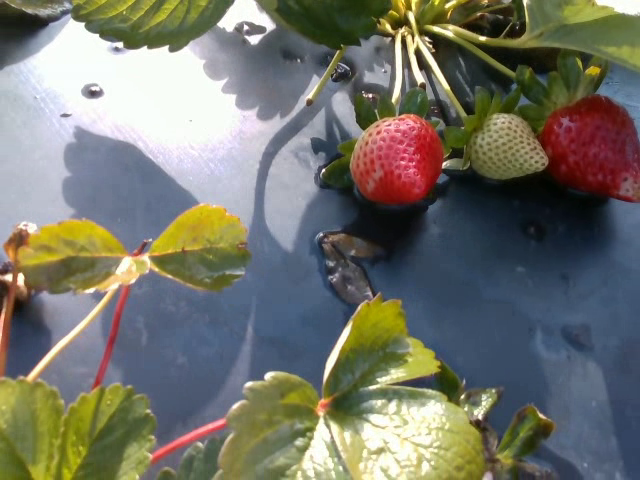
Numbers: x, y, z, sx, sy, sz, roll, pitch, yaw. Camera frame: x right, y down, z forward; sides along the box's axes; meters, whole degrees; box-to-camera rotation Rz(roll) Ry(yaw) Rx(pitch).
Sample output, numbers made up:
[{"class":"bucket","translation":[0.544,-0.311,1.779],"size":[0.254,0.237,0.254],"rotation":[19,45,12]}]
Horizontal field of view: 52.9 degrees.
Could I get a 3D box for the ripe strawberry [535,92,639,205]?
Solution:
[{"class":"ripe strawberry","translation":[0.128,-0.038,0.288],"size":[0.048,0.065,0.050],"rotation":[-34,-26,20]}]
